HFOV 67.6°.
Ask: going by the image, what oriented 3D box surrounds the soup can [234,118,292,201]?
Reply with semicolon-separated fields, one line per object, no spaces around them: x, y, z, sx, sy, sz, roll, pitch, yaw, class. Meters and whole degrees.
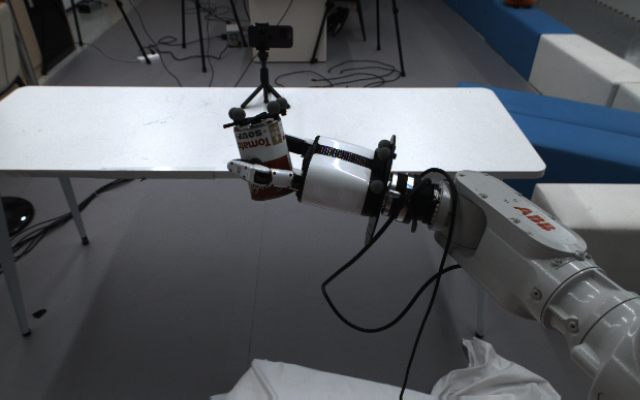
-0.073;-0.057;0.667;0.067;0.101;0.067;-12;17;4;soup can
